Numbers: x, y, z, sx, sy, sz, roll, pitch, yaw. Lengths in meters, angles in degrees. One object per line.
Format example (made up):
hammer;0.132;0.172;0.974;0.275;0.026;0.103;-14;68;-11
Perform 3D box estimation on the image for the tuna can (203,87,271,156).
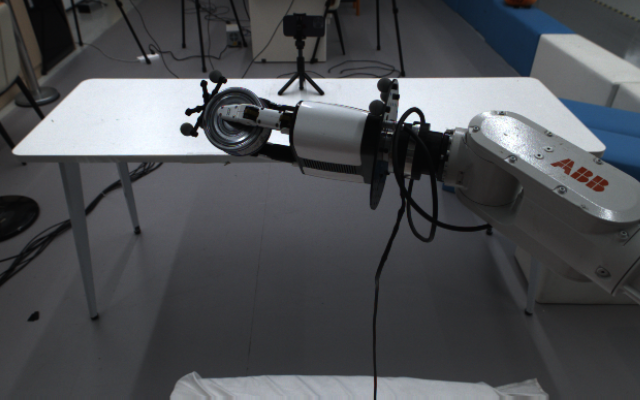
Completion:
tuna can;-0.104;-0.098;0.626;0.085;0.085;0.034;9;-3;10
